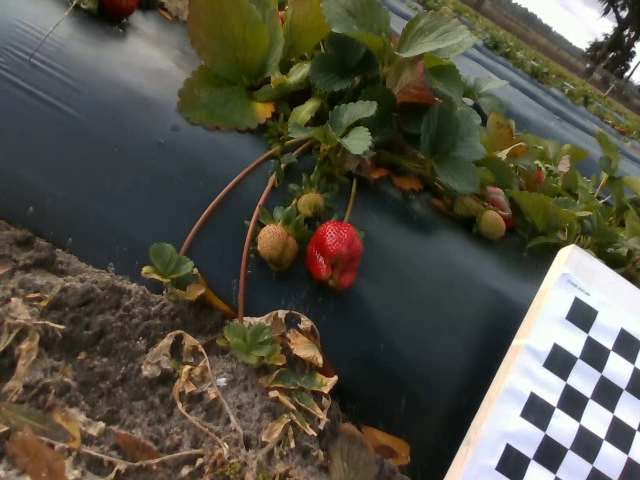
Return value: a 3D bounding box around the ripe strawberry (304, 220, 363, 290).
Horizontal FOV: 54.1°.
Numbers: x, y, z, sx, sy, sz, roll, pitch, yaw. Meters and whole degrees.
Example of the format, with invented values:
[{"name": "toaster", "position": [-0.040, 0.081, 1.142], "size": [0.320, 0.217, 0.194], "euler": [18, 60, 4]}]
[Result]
[{"name": "ripe strawberry", "position": [0.017, 0.007, 0.542], "size": [0.066, 0.075, 0.053], "euler": [17, -19, -9]}]
